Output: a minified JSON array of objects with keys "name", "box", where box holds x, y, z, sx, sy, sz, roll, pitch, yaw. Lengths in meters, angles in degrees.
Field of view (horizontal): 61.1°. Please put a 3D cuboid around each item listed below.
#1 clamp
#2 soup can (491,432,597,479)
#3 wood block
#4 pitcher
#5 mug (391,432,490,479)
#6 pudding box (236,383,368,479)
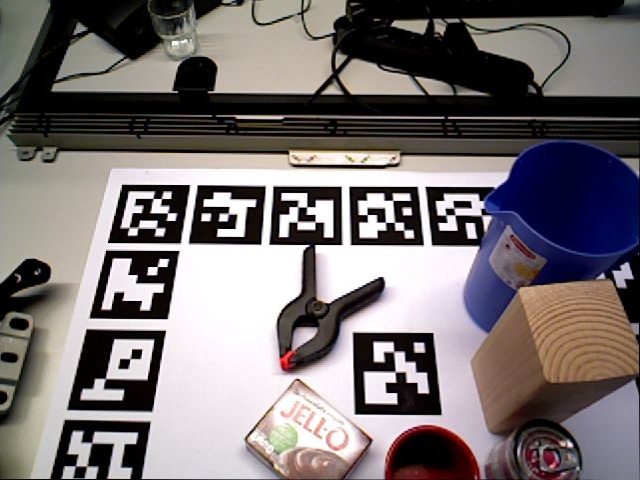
[{"name":"clamp","box":[0.005,0.093,0.670,0.122,0.037,0.162,29,64,9]},{"name":"soup can","box":[0.214,0.233,0.532,0.067,0.104,0.067,-1,60,0]},{"name":"wood block","box":[0.233,0.129,0.532,0.089,0.210,0.090,0,58,-4]},{"name":"pitcher","box":[0.260,0.018,0.580,0.188,0.247,0.131,-1,56,3]},{"name":"mug","box":[0.121,0.255,0.535,0.117,0.083,0.091,32,62,20]},{"name":"pudding box","box":[-0.019,0.226,0.585,0.114,0.039,0.088,34,68,21]}]
